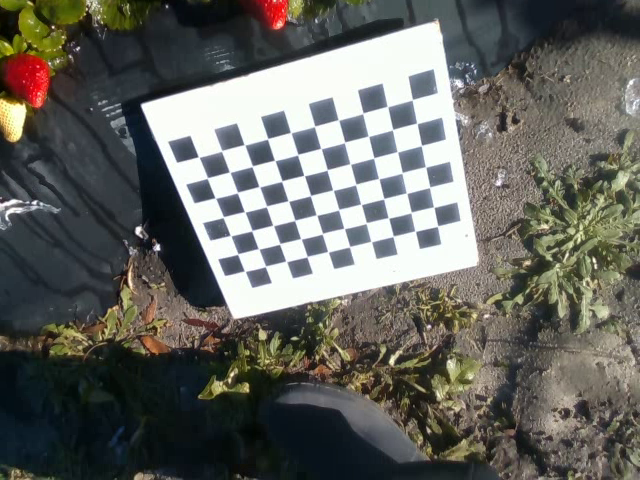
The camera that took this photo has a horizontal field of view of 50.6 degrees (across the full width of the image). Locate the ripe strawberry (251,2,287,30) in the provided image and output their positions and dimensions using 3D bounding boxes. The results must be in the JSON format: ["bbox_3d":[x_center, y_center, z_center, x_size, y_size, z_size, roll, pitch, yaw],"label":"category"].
[{"bbox_3d":[-0.044,-0.197,0.573,0.048,0.061,0.044,-20,-1,11],"label":"ripe strawberry"}]

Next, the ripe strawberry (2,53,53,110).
[{"bbox_3d":[-0.261,-0.137,0.614,0.042,0.061,0.046,-26,-12,15],"label":"ripe strawberry"}]
